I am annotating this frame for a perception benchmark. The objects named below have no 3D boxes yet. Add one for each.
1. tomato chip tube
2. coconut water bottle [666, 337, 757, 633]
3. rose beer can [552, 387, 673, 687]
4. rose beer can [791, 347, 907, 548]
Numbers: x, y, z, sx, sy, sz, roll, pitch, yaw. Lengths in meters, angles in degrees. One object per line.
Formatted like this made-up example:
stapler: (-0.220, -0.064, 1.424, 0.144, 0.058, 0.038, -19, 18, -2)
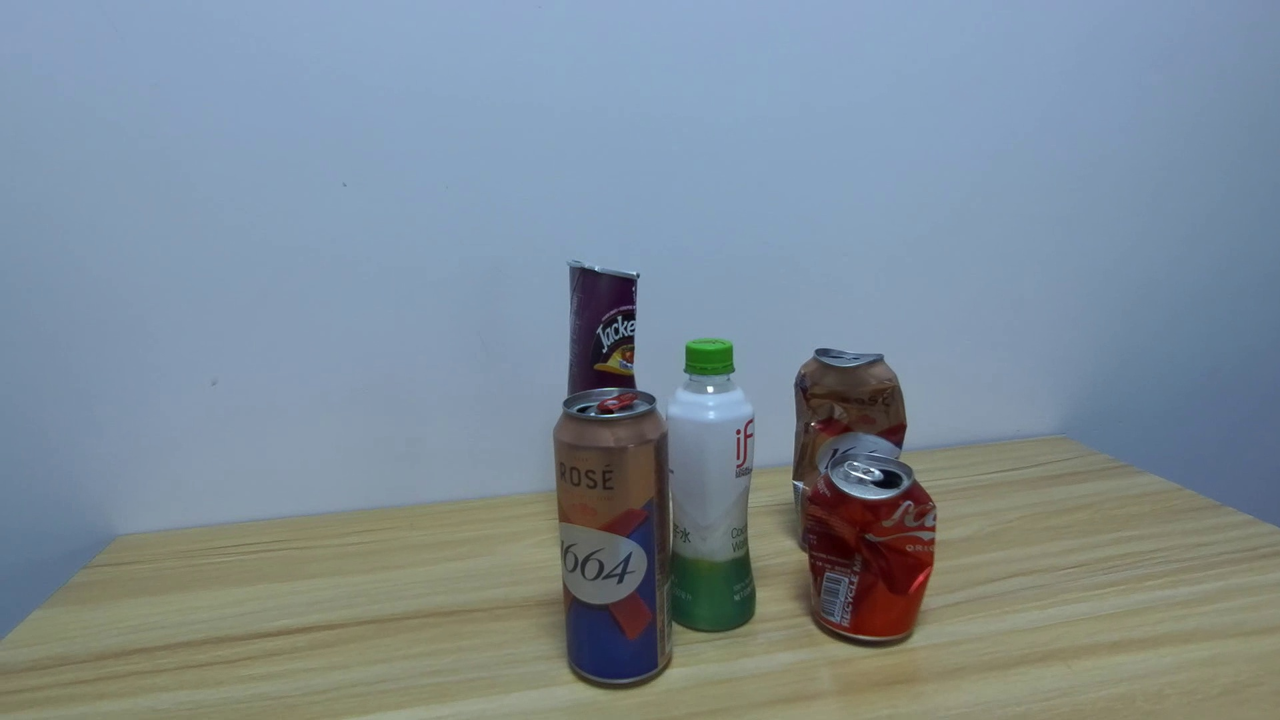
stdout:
tomato chip tube: (-0.024, 0.046, 0.532, 0.078, 0.235, 0.090, 1, 11, 13)
coconut water bottle: (0.046, 0.082, 0.469, 0.063, 0.188, 0.063, -1, 12, 1)
rose beer can: (-0.015, 0.107, 0.423, 0.068, 0.169, 0.068, -1, 14, 1)
rose beer can: (0.159, 0.074, 0.547, 0.074, 0.161, 0.068, 0, 8, -6)
